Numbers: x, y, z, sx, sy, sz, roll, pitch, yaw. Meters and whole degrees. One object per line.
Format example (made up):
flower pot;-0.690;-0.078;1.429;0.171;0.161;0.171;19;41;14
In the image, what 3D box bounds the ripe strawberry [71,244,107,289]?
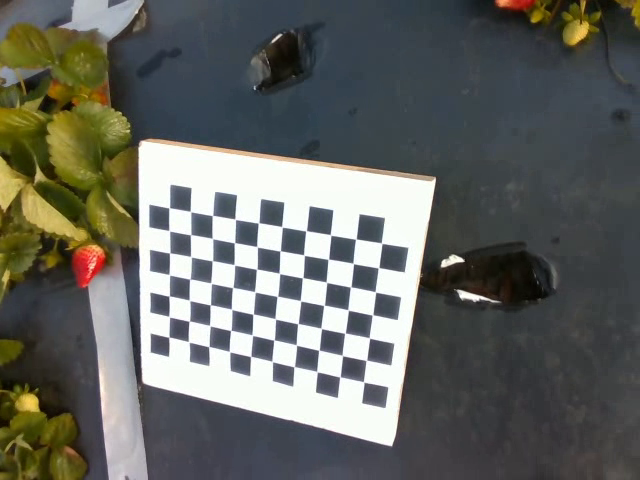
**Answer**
ripe strawberry;-0.236;0.028;0.590;0.050;0.055;0.035;2;-3;9
